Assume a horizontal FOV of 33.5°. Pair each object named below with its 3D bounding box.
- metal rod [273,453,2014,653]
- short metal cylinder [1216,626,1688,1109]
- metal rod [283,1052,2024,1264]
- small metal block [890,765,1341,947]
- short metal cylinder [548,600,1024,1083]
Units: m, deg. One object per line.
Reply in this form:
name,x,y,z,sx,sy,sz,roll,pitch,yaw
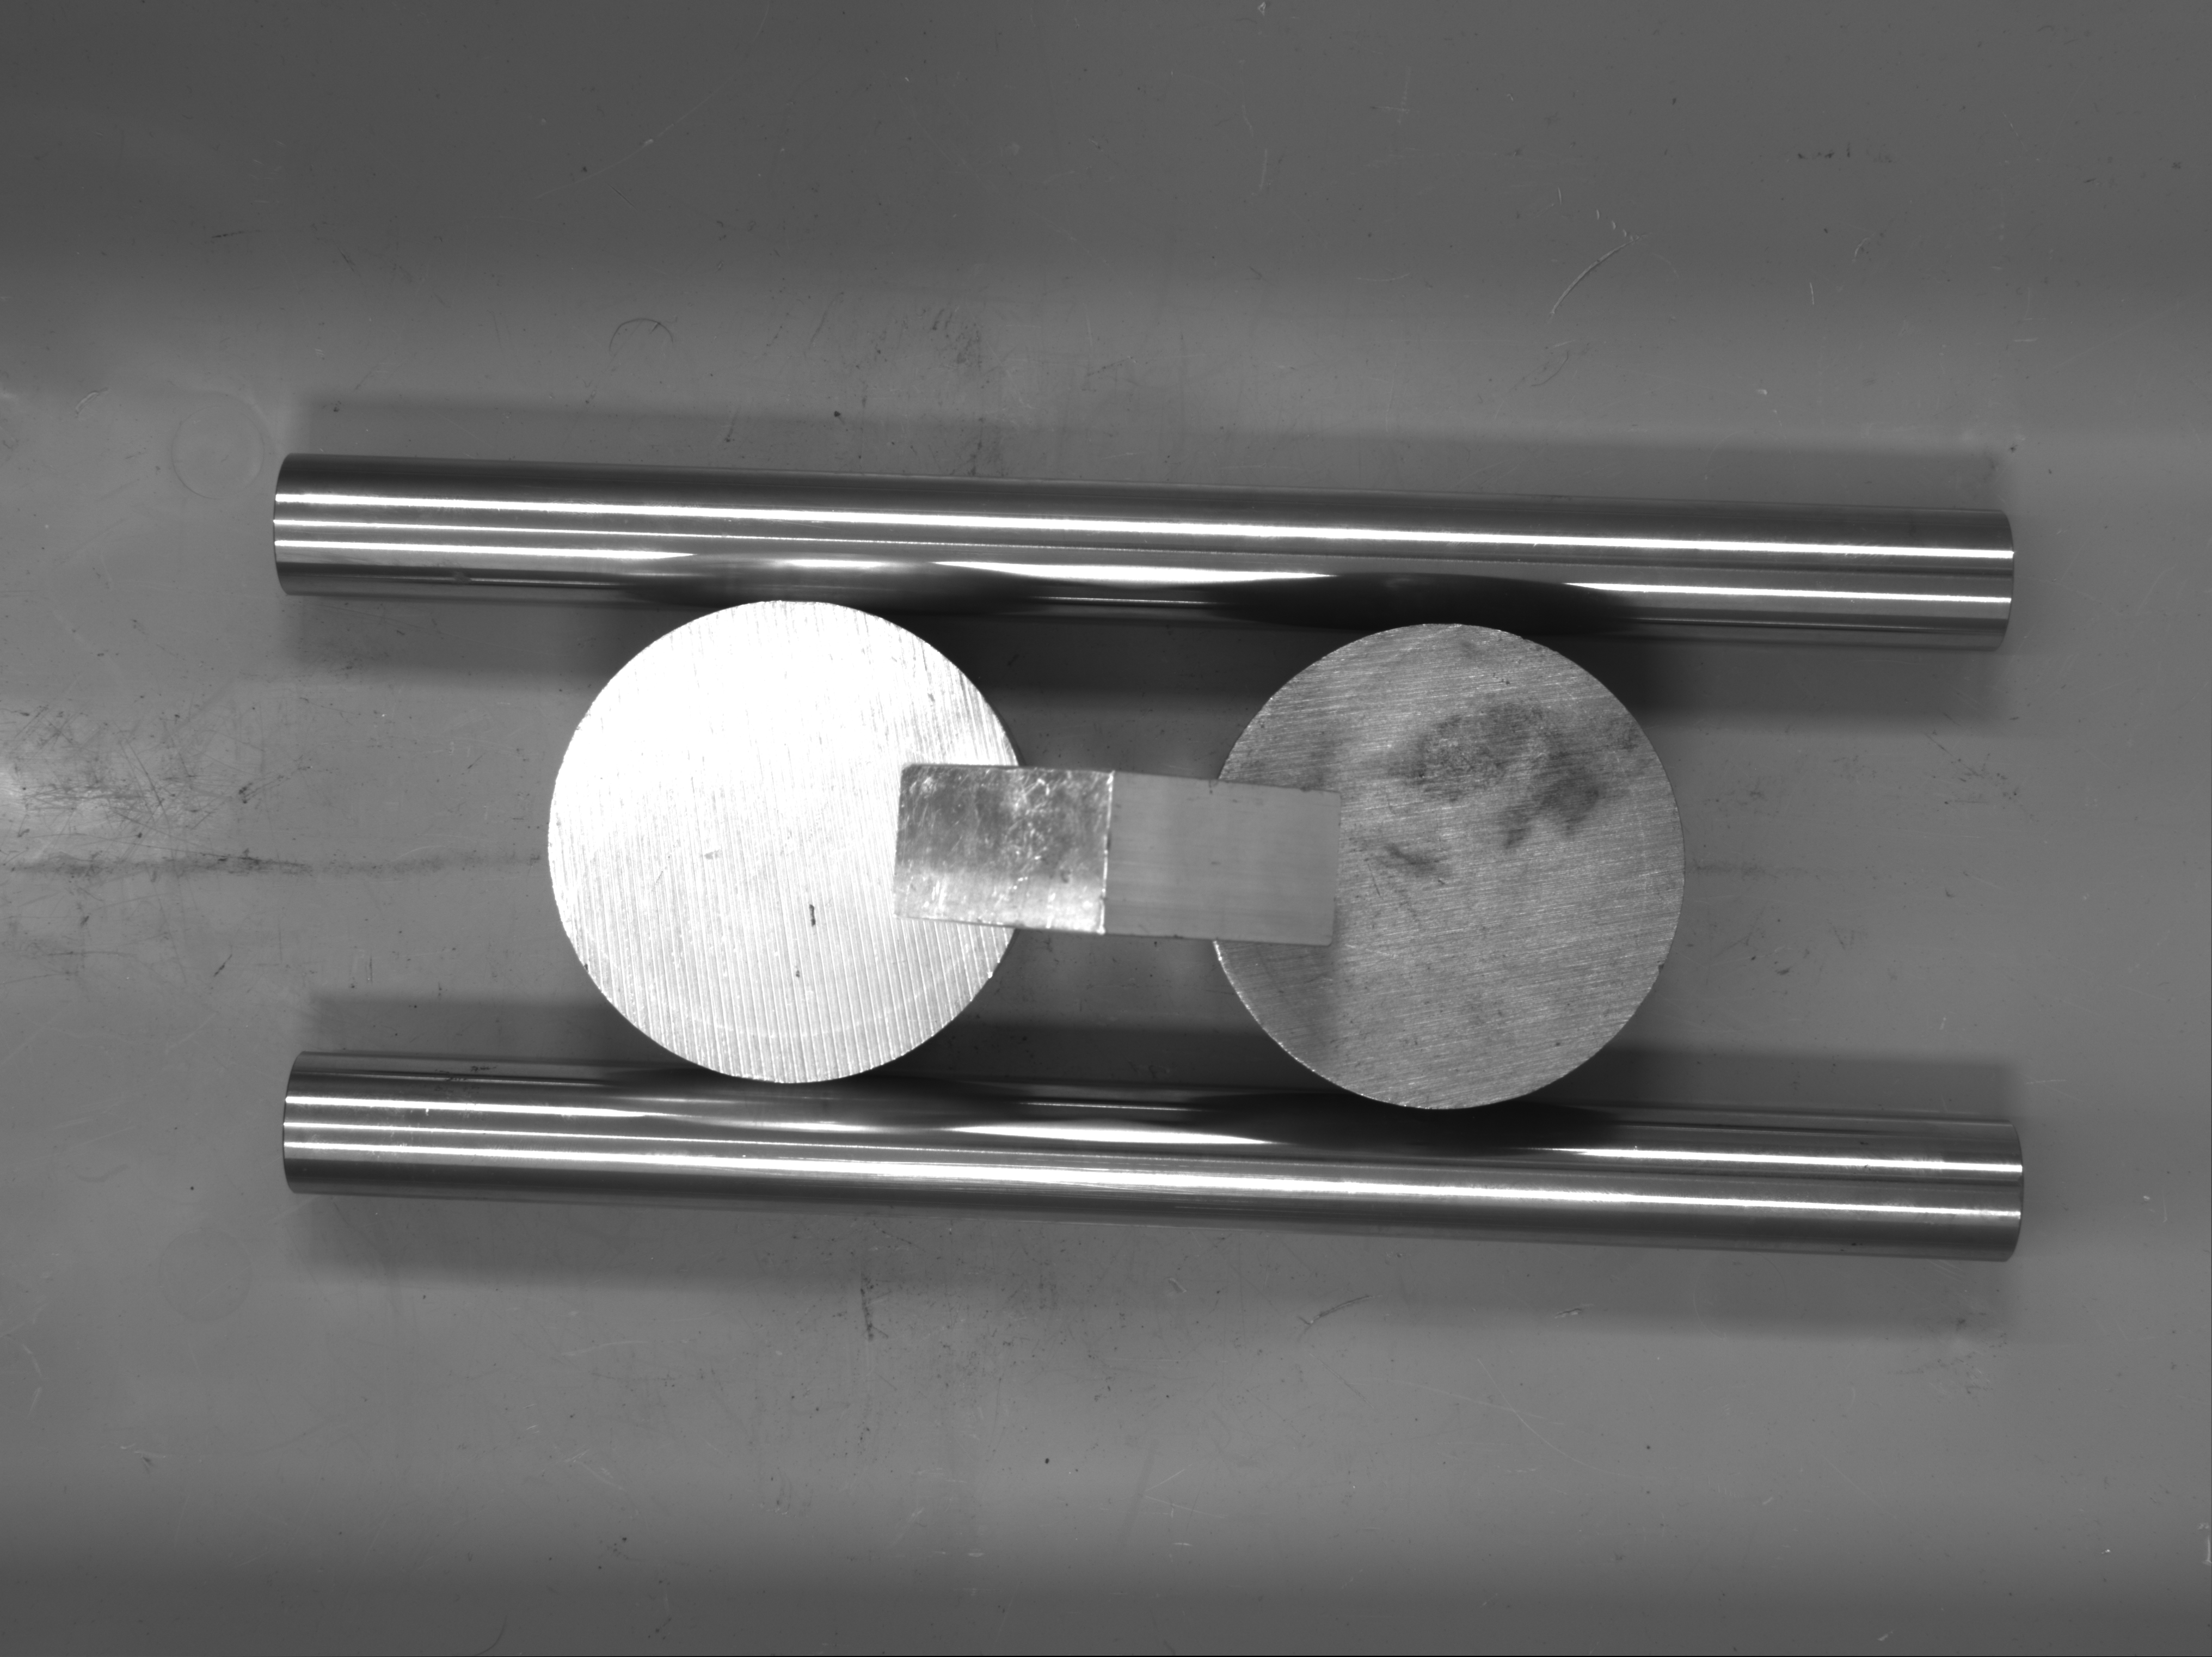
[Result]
metal rod,0.007,-0.048,0.645,0.300,0.025,0.025,2,90,0
short metal cylinder,0.057,0.007,0.633,0.080,0.050,0.080,0,90,0
metal rod,0.008,0.058,0.645,0.300,0.025,0.025,2,90,0
small metal block,0.002,0.004,0.586,0.050,0.050,0.025,4,89,-43
short metal cylinder,-0.052,0.002,0.632,0.080,0.050,0.080,0,90,0
